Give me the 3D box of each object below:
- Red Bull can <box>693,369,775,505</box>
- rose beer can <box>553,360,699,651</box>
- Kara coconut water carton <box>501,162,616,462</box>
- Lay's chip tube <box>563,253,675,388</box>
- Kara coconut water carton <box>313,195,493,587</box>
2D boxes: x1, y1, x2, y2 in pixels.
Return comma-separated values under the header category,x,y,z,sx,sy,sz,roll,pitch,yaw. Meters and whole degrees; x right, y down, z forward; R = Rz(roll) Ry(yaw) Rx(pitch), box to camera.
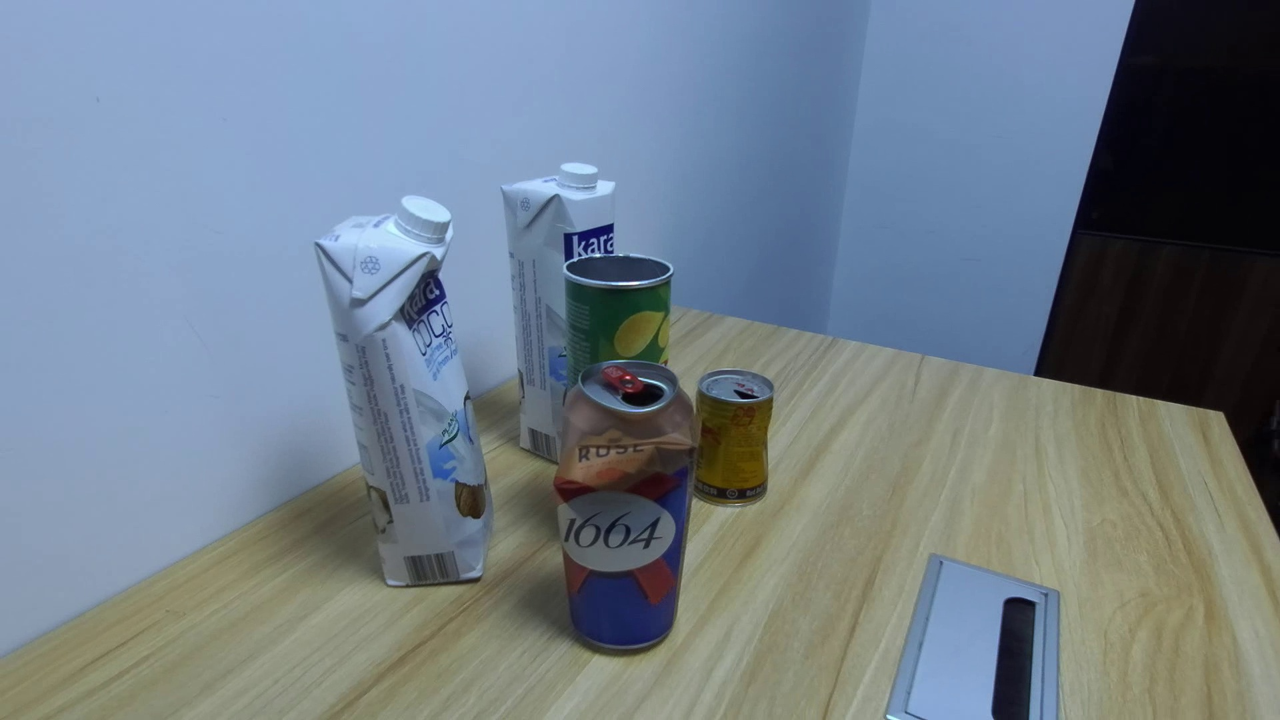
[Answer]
category,x,y,z,sx,sy,sz,roll,pitch,yaw
Red Bull can,0.073,0.062,0.562,0.069,0.092,0.069,1,21,0
rose beer can,-0.008,0.087,0.404,0.076,0.167,0.065,7,25,8
Kara coconut water carton,-0.062,-0.036,0.589,0.075,0.245,0.077,16,27,35
Lay's chip tube,-0.015,0.033,0.478,0.071,0.202,0.071,1,23,0
Kara coconut water carton,-0.142,0.022,0.450,0.071,0.244,0.099,-3,25,-4
